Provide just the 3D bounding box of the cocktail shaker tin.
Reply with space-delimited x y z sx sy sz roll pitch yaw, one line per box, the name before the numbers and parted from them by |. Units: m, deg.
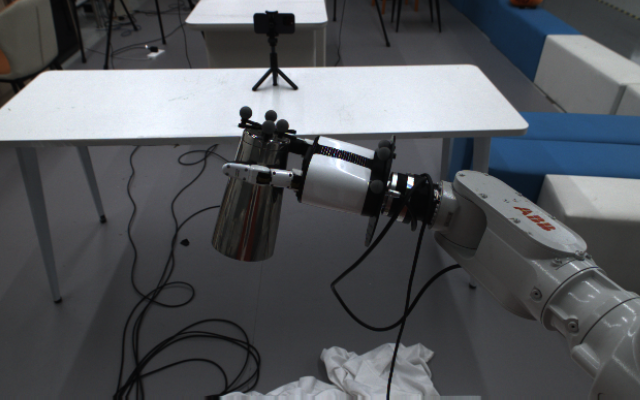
cocktail shaker tin | -0.091 -0.014 0.682 0.093 0.170 0.093 14 19 -5
